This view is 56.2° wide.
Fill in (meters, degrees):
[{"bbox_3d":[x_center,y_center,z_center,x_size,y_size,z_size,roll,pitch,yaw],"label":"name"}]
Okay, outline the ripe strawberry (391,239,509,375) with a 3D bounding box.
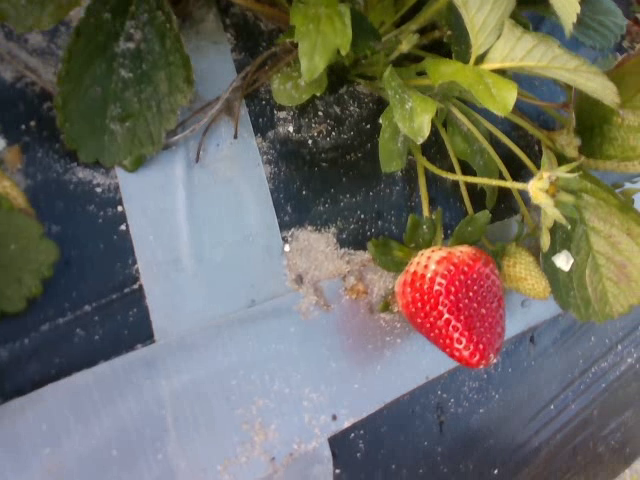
[{"bbox_3d":[0.025,0.012,0.102,0.023,0.026,0.021,-4,-36,-7],"label":"ripe strawberry"}]
